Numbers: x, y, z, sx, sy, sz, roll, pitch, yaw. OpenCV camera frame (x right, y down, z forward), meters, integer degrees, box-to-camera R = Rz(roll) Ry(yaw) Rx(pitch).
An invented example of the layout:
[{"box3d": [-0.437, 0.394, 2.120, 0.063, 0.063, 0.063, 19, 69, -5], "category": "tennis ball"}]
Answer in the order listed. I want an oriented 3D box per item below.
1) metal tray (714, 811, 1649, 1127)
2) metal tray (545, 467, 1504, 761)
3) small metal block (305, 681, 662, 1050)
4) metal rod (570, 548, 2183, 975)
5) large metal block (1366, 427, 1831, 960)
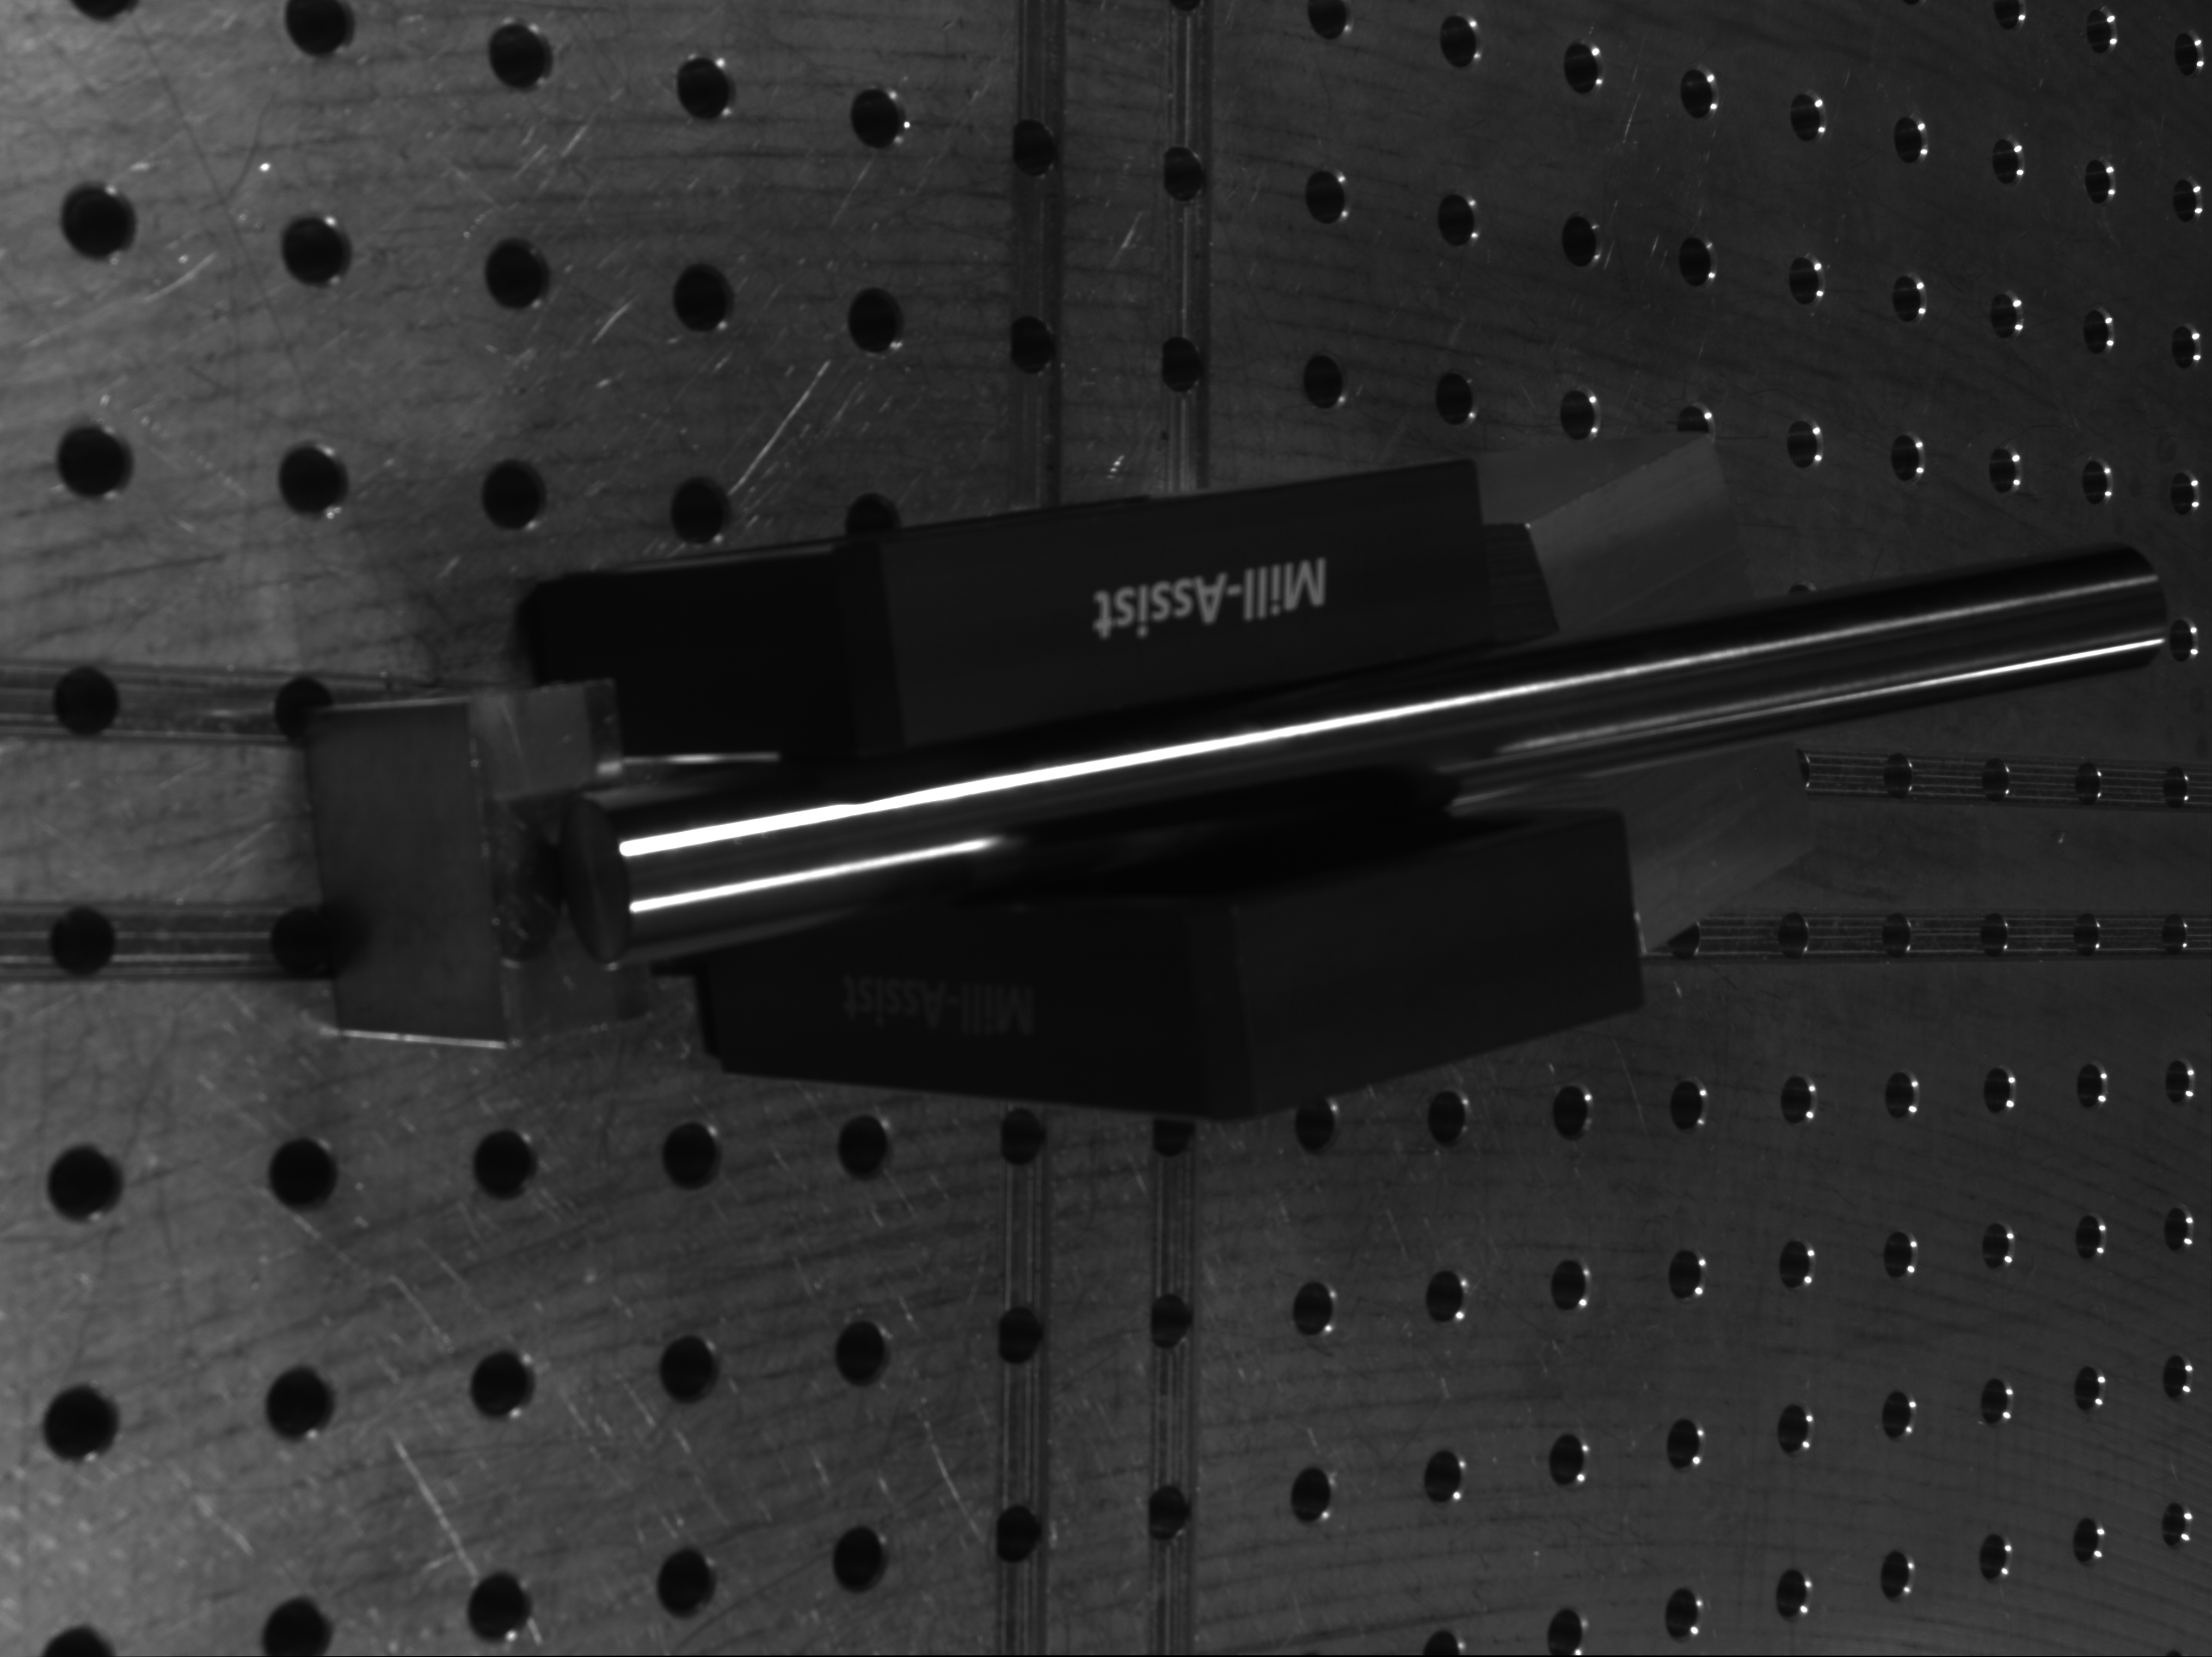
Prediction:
[{"box3d": [0.009, 0.019, 0.580, 0.090, 0.130, 0.030, -12, 98, -39], "category": "metal tray"}, {"box3d": [-0.012, -0.035, 0.587, 0.130, 0.090, 0.030, -11, 98, -39], "category": "metal tray"}, {"box3d": [-0.093, 0.005, 0.546, 0.025, 0.050, 0.050, -10, 97, -39], "category": "small metal block"}, {"box3d": [0.058, -0.015, 0.591, 0.301, 0.025, 0.025, -10, 97, -30], "category": "metal rod"}, {"box3d": [0.076, -0.024, 0.666, 0.050, 0.080, 0.080, -28, 108, -36], "category": "large metal block"}]
